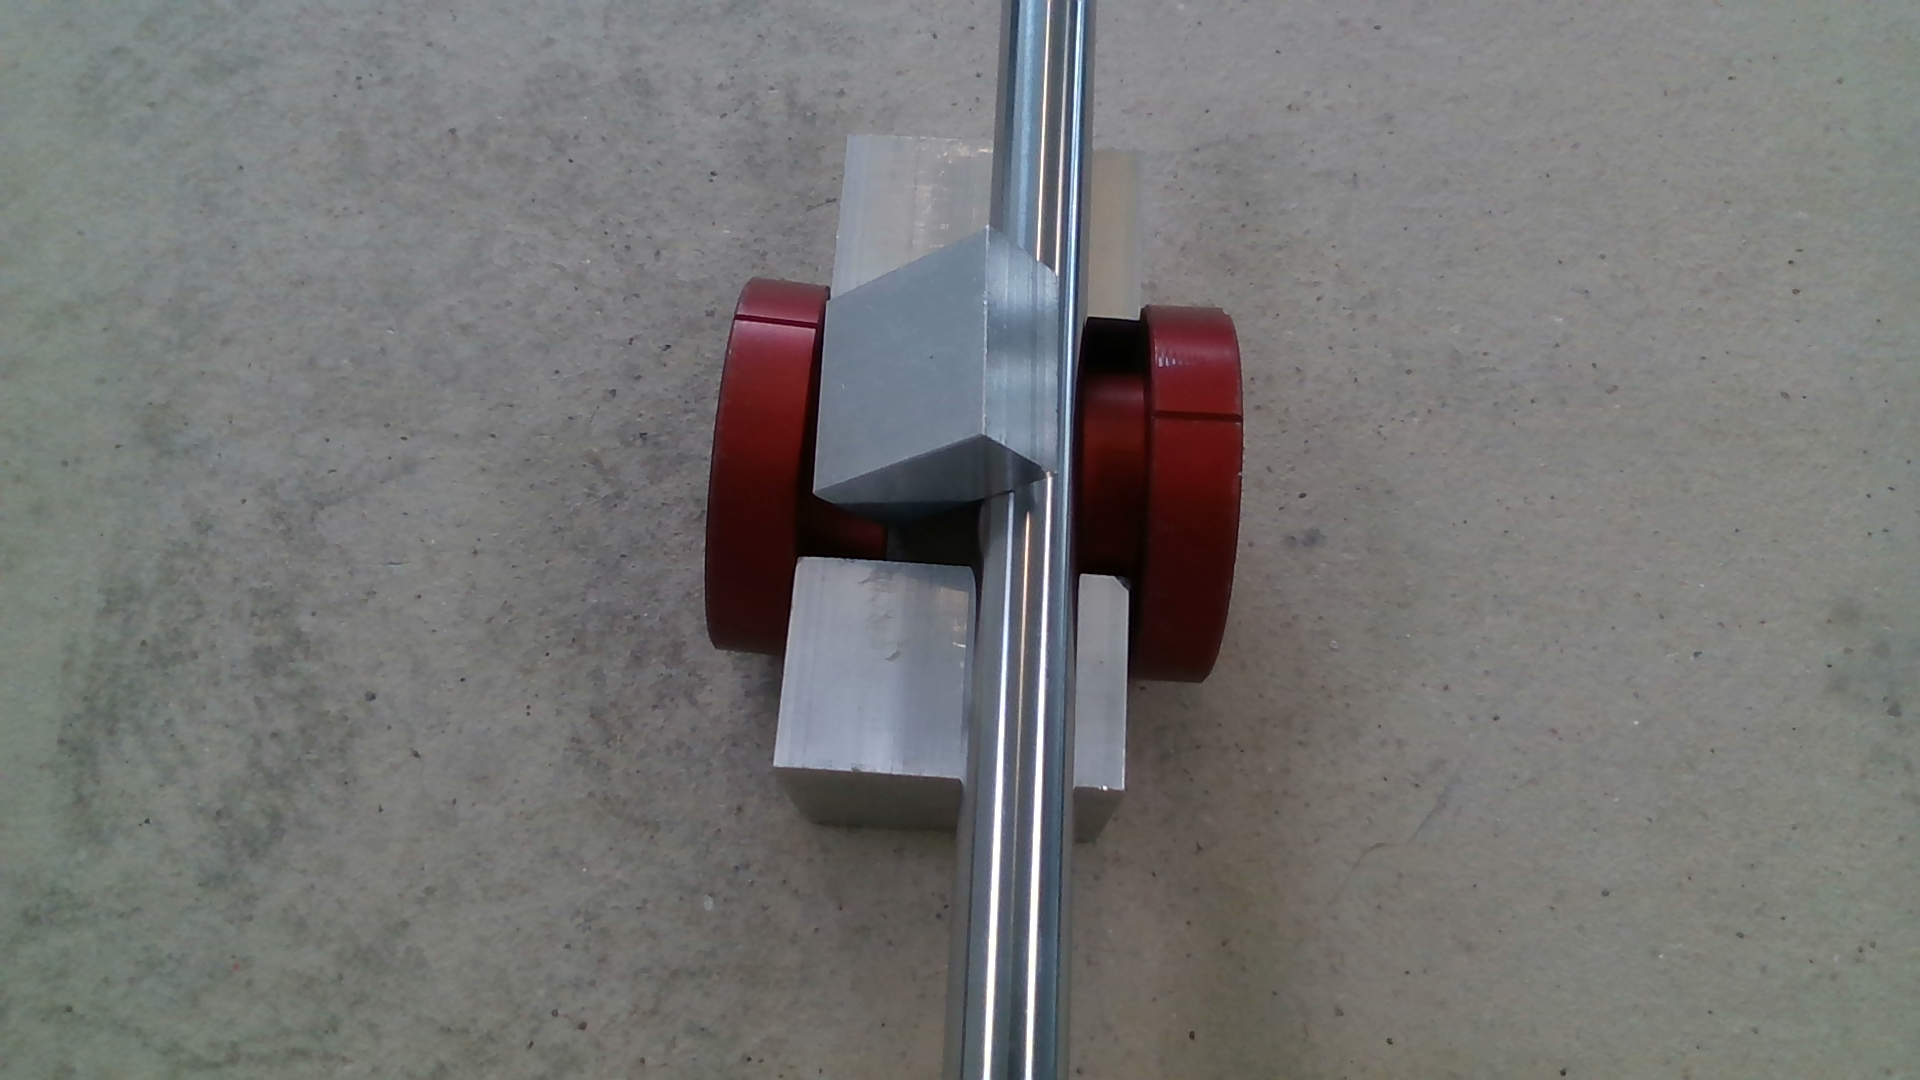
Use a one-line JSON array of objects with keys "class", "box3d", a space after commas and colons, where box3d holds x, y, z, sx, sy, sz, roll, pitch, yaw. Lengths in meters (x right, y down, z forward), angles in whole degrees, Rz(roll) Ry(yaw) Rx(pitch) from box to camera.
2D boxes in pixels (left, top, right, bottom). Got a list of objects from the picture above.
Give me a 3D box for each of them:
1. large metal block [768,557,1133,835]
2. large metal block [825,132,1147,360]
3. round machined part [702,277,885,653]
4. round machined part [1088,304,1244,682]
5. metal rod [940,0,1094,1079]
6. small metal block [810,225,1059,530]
[{"class": "large metal block", "box3d": [-0.001, 0.043, 0.351, 0.080, 0.080, 0.050, 3, 70, 1]}, {"class": "large metal block", "box3d": [0.007, -0.068, 0.391, 0.080, 0.080, 0.050, 4, 70, 1]}, {"class": "round machined part", "box3d": [-0.039, -0.018, 0.363, 0.042, 0.098, 0.098, 6, 70, -3]}, {"class": "round machined part", "box3d": [0.045, -0.013, 0.361, 0.042, 0.098, 0.098, 3, 70, 2]}, {"class": "metal rod", "box3d": [0.016, -0.027, 0.320, 0.025, 0.025, 0.299, 3, 70, 1]}, {"class": "small metal block", "box3d": [-0.005, -0.035, 0.309, 0.050, 0.025, 0.050, -16, 63, 38]}]
